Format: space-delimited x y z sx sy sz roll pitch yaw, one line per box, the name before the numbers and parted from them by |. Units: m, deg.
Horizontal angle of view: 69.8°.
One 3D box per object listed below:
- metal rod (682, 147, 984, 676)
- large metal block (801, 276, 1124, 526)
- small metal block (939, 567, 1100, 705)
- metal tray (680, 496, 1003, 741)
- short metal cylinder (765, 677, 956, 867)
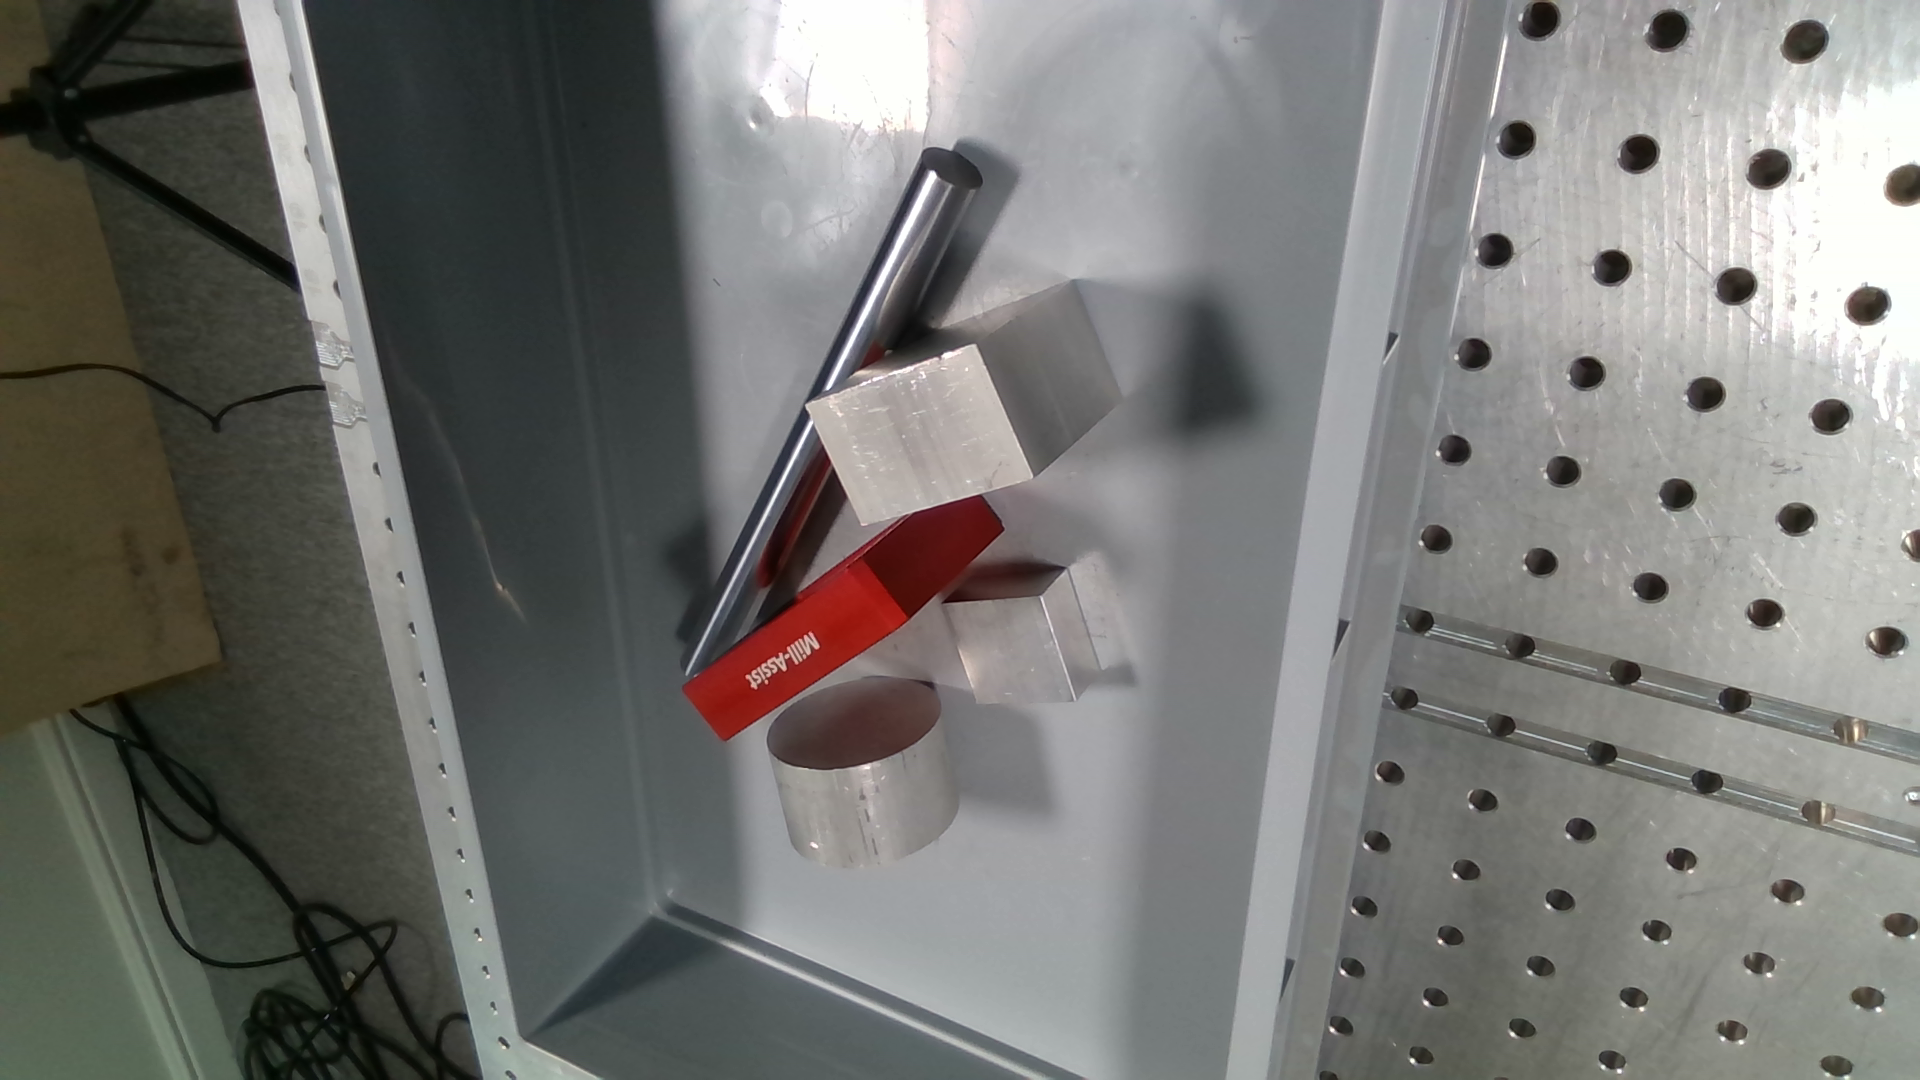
metal rod | -0.065 -0.037 0.599 0.025 0.025 0.301 39 129 8
large metal block | 0.003 -0.052 0.513 0.080 0.080 0.050 -14 107 36
small metal block | 0.025 0.041 0.584 0.050 0.025 0.050 -6 112 34
metal tray | -0.051 0.029 0.583 0.130 0.090 0.030 -35 95 39
short metal cylinder | -0.044 0.104 0.627 0.080 0.080 0.050 3 115 30
